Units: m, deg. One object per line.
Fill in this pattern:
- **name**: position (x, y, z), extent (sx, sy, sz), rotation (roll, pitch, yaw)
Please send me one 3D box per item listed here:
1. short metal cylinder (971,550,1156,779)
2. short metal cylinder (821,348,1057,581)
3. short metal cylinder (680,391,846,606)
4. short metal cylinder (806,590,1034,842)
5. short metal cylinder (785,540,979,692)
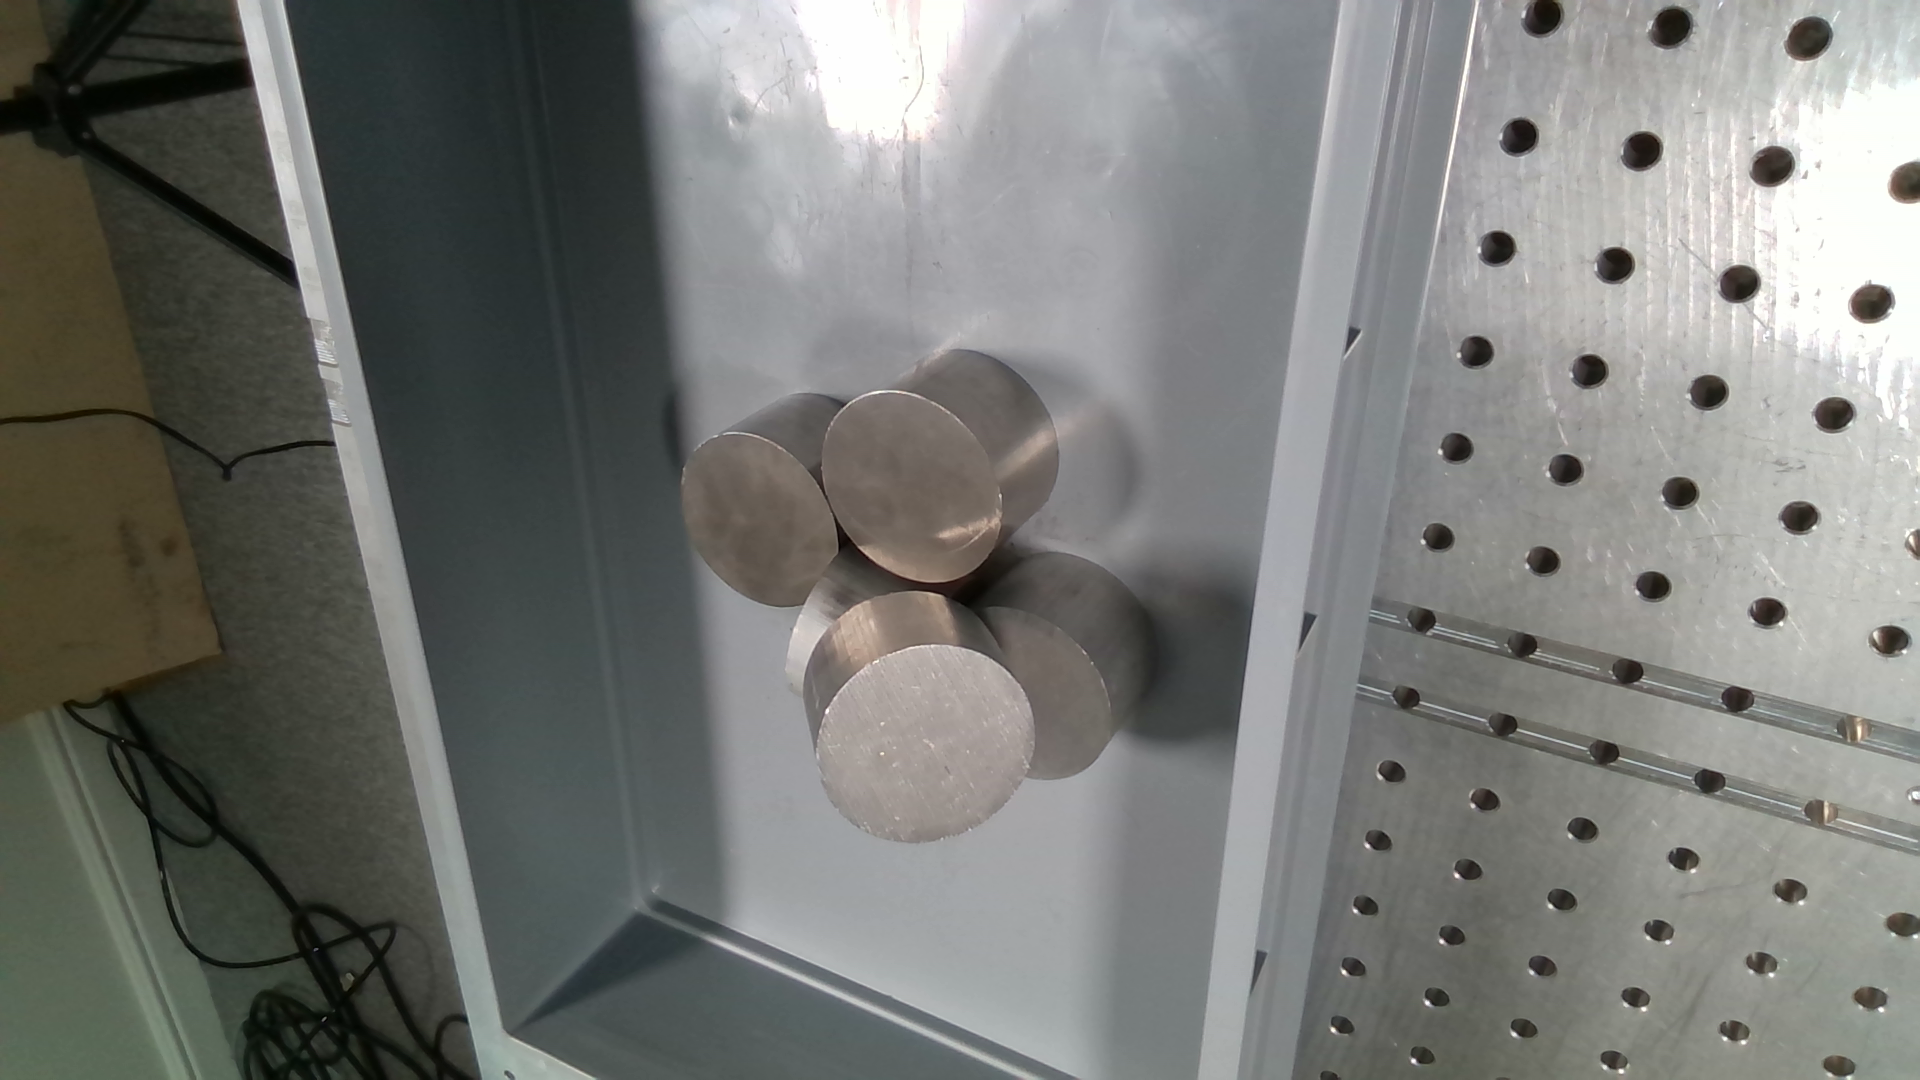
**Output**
- **short metal cylinder**: position (0.035, 0.051, 0.569), extent (0.080, 0.050, 0.080), rotation (14, 122, 25)
- **short metal cylinder**: position (-0.008, -0.031, 0.550), extent (0.080, 0.050, 0.080), rotation (14, 122, 25)
- **short metal cylinder**: position (-0.074, -0.018, 0.597), extent (0.080, 0.050, 0.080), rotation (14, 122, 25)
- **short metal cylinder**: position (-0.017, 0.065, 0.518), extent (0.080, 0.050, 0.080), rotation (-4, 112, -10)
- **short metal cylinder**: position (-0.030, 0.040, 0.584), extent (0.050, 0.080, 0.080), rotation (26, 126, 17)
